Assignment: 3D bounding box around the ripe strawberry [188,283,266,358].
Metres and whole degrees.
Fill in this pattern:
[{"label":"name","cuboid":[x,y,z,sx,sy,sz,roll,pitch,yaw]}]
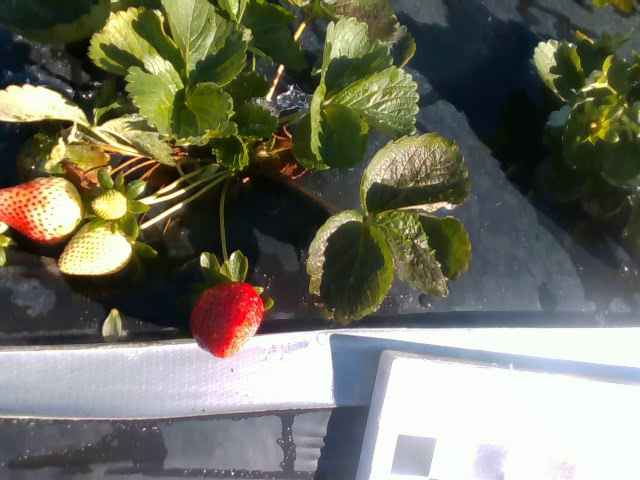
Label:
[{"label":"ripe strawberry","cuboid":[-0.040,0.037,0.246,0.036,0.038,0.045,8,20,-9]}]
